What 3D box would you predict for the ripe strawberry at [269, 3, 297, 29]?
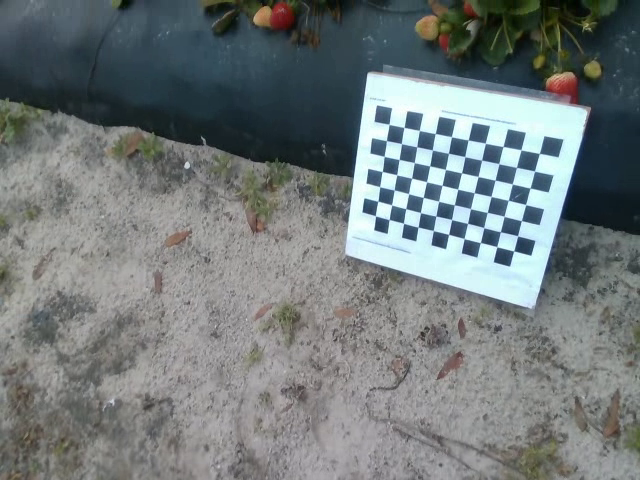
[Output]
[{"bbox_3d":[-0.061,-0.302,1.032,0.042,0.034,0.033,-40,-12,-26],"label":"ripe strawberry"}]
